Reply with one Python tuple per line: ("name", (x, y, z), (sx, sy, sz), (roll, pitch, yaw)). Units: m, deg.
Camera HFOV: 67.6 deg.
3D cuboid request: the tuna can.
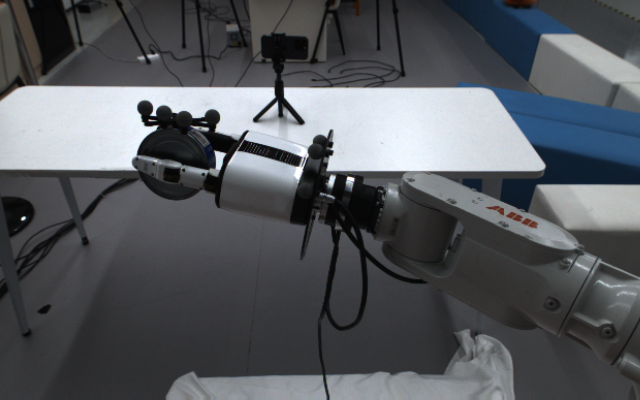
("tuna can", (-0.168, -0.045, 0.573), (0.085, 0.085, 0.034), (5, 18, 5))
